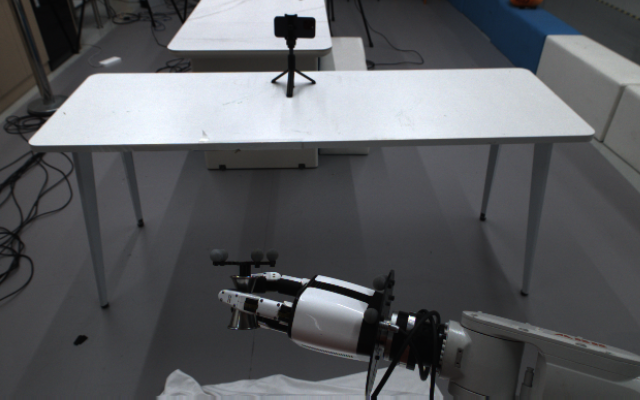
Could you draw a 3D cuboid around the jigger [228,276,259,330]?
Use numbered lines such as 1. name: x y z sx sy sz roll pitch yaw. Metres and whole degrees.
1. jigger: -0.101 0.135 0.645 0.043 0.071 0.043 0 -5 0
